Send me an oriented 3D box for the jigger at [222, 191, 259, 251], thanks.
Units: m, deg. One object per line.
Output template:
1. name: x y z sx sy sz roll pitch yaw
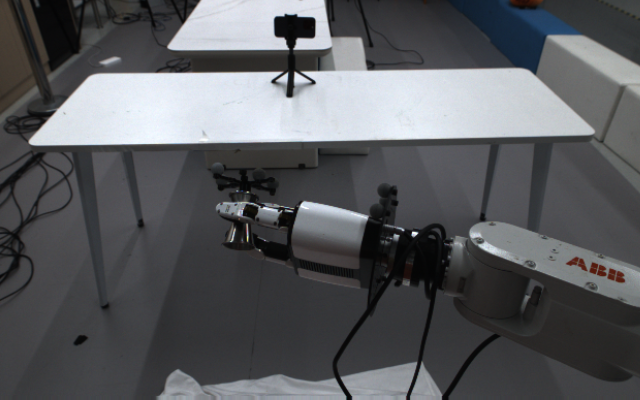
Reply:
1. jigger: -0.101 0.026 0.619 0.043 0.043 0.071 3 72 1
